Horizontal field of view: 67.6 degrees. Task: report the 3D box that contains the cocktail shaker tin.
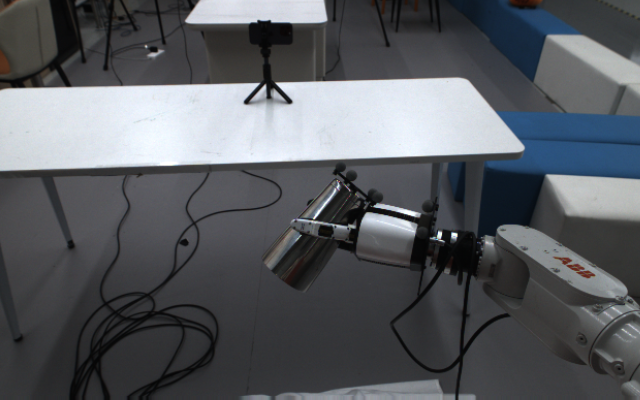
[{"bbox_3d":[-0.004,0.048,0.769,0.170,0.093,0.093,-50,46,4],"label":"cocktail shaker tin"}]
